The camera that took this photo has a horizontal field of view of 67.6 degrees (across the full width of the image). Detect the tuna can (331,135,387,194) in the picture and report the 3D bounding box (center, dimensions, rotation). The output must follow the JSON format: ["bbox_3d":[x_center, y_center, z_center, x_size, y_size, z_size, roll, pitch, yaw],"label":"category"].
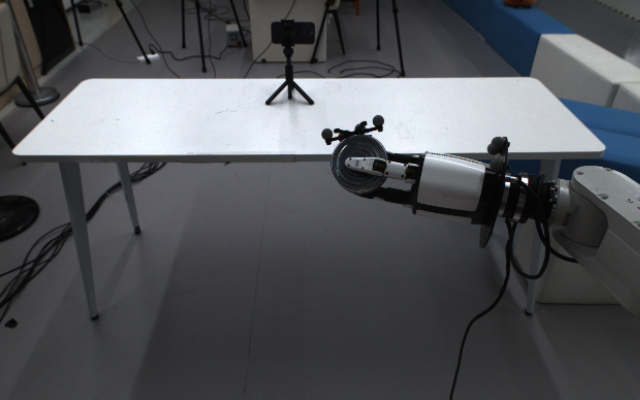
[{"bbox_3d":[0.064,-0.048,0.717,0.085,0.085,0.034,12,-6,14],"label":"tuna can"}]
